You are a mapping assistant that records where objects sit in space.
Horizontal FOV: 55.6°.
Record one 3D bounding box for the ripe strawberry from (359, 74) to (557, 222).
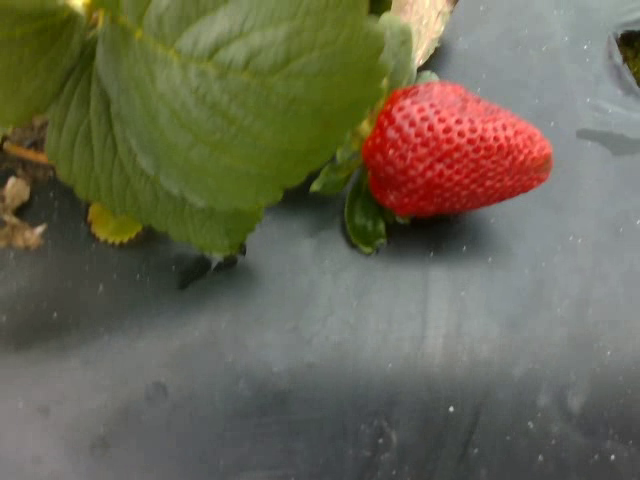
[{"bbox_3d":[0.042,-0.025,0.187,0.064,0.046,0.048,17,29,30],"label":"ripe strawberry"}]
